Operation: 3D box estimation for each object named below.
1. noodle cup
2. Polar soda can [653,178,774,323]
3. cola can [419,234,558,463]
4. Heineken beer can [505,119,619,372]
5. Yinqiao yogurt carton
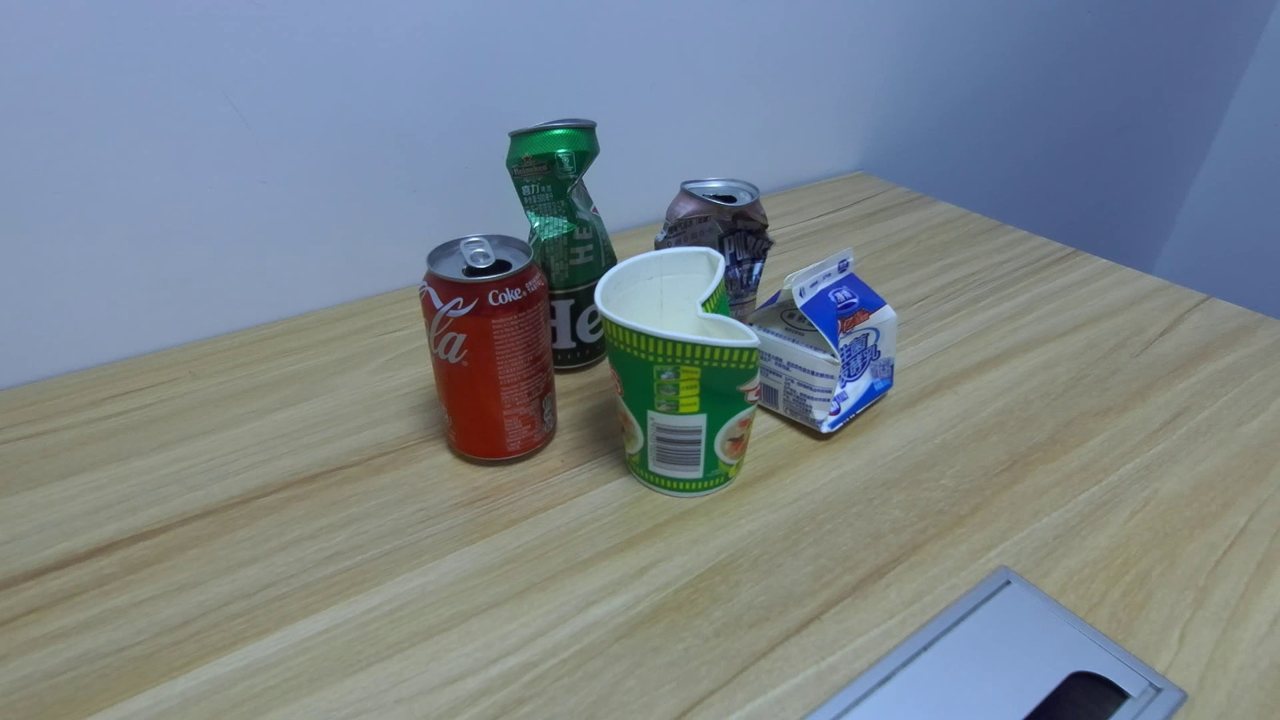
[{"bbox_3d":[0.023,0.008,0.379,0.087,0.109,0.094,9,35,13],"label":"noodle cup"},{"bbox_3d":[0.053,-0.070,0.499,0.070,0.114,0.074,19,39,18],"label":"Polar soda can"},{"bbox_3d":[-0.082,-0.006,0.396,0.068,0.120,0.068,0,33,1],"label":"cola can"},{"bbox_3d":[-0.050,-0.075,0.467,0.067,0.159,0.078,-18,33,-30],"label":"Heineken beer can"},{"bbox_3d":[0.109,-0.017,0.435,0.078,0.094,0.070,-26,35,-36],"label":"Yinqiao yogurt carton"}]
